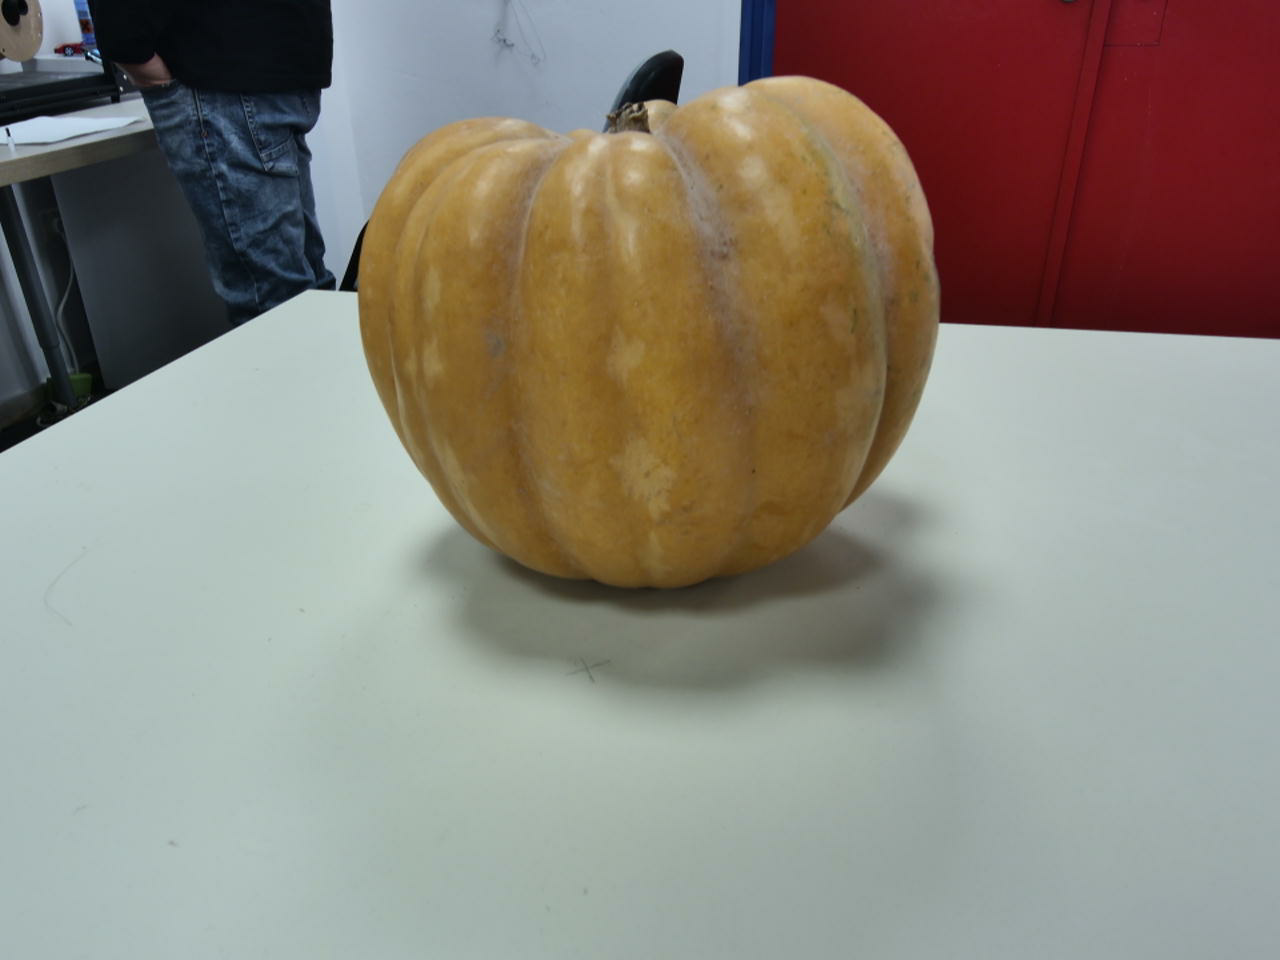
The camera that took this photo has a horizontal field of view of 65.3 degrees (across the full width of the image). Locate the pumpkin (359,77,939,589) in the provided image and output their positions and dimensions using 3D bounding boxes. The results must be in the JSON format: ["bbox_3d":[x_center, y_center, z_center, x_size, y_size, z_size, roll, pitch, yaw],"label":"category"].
[{"bbox_3d":[0.006,-0.060,0.409,0.230,0.194,0.230,0,24,0],"label":"pumpkin"}]
